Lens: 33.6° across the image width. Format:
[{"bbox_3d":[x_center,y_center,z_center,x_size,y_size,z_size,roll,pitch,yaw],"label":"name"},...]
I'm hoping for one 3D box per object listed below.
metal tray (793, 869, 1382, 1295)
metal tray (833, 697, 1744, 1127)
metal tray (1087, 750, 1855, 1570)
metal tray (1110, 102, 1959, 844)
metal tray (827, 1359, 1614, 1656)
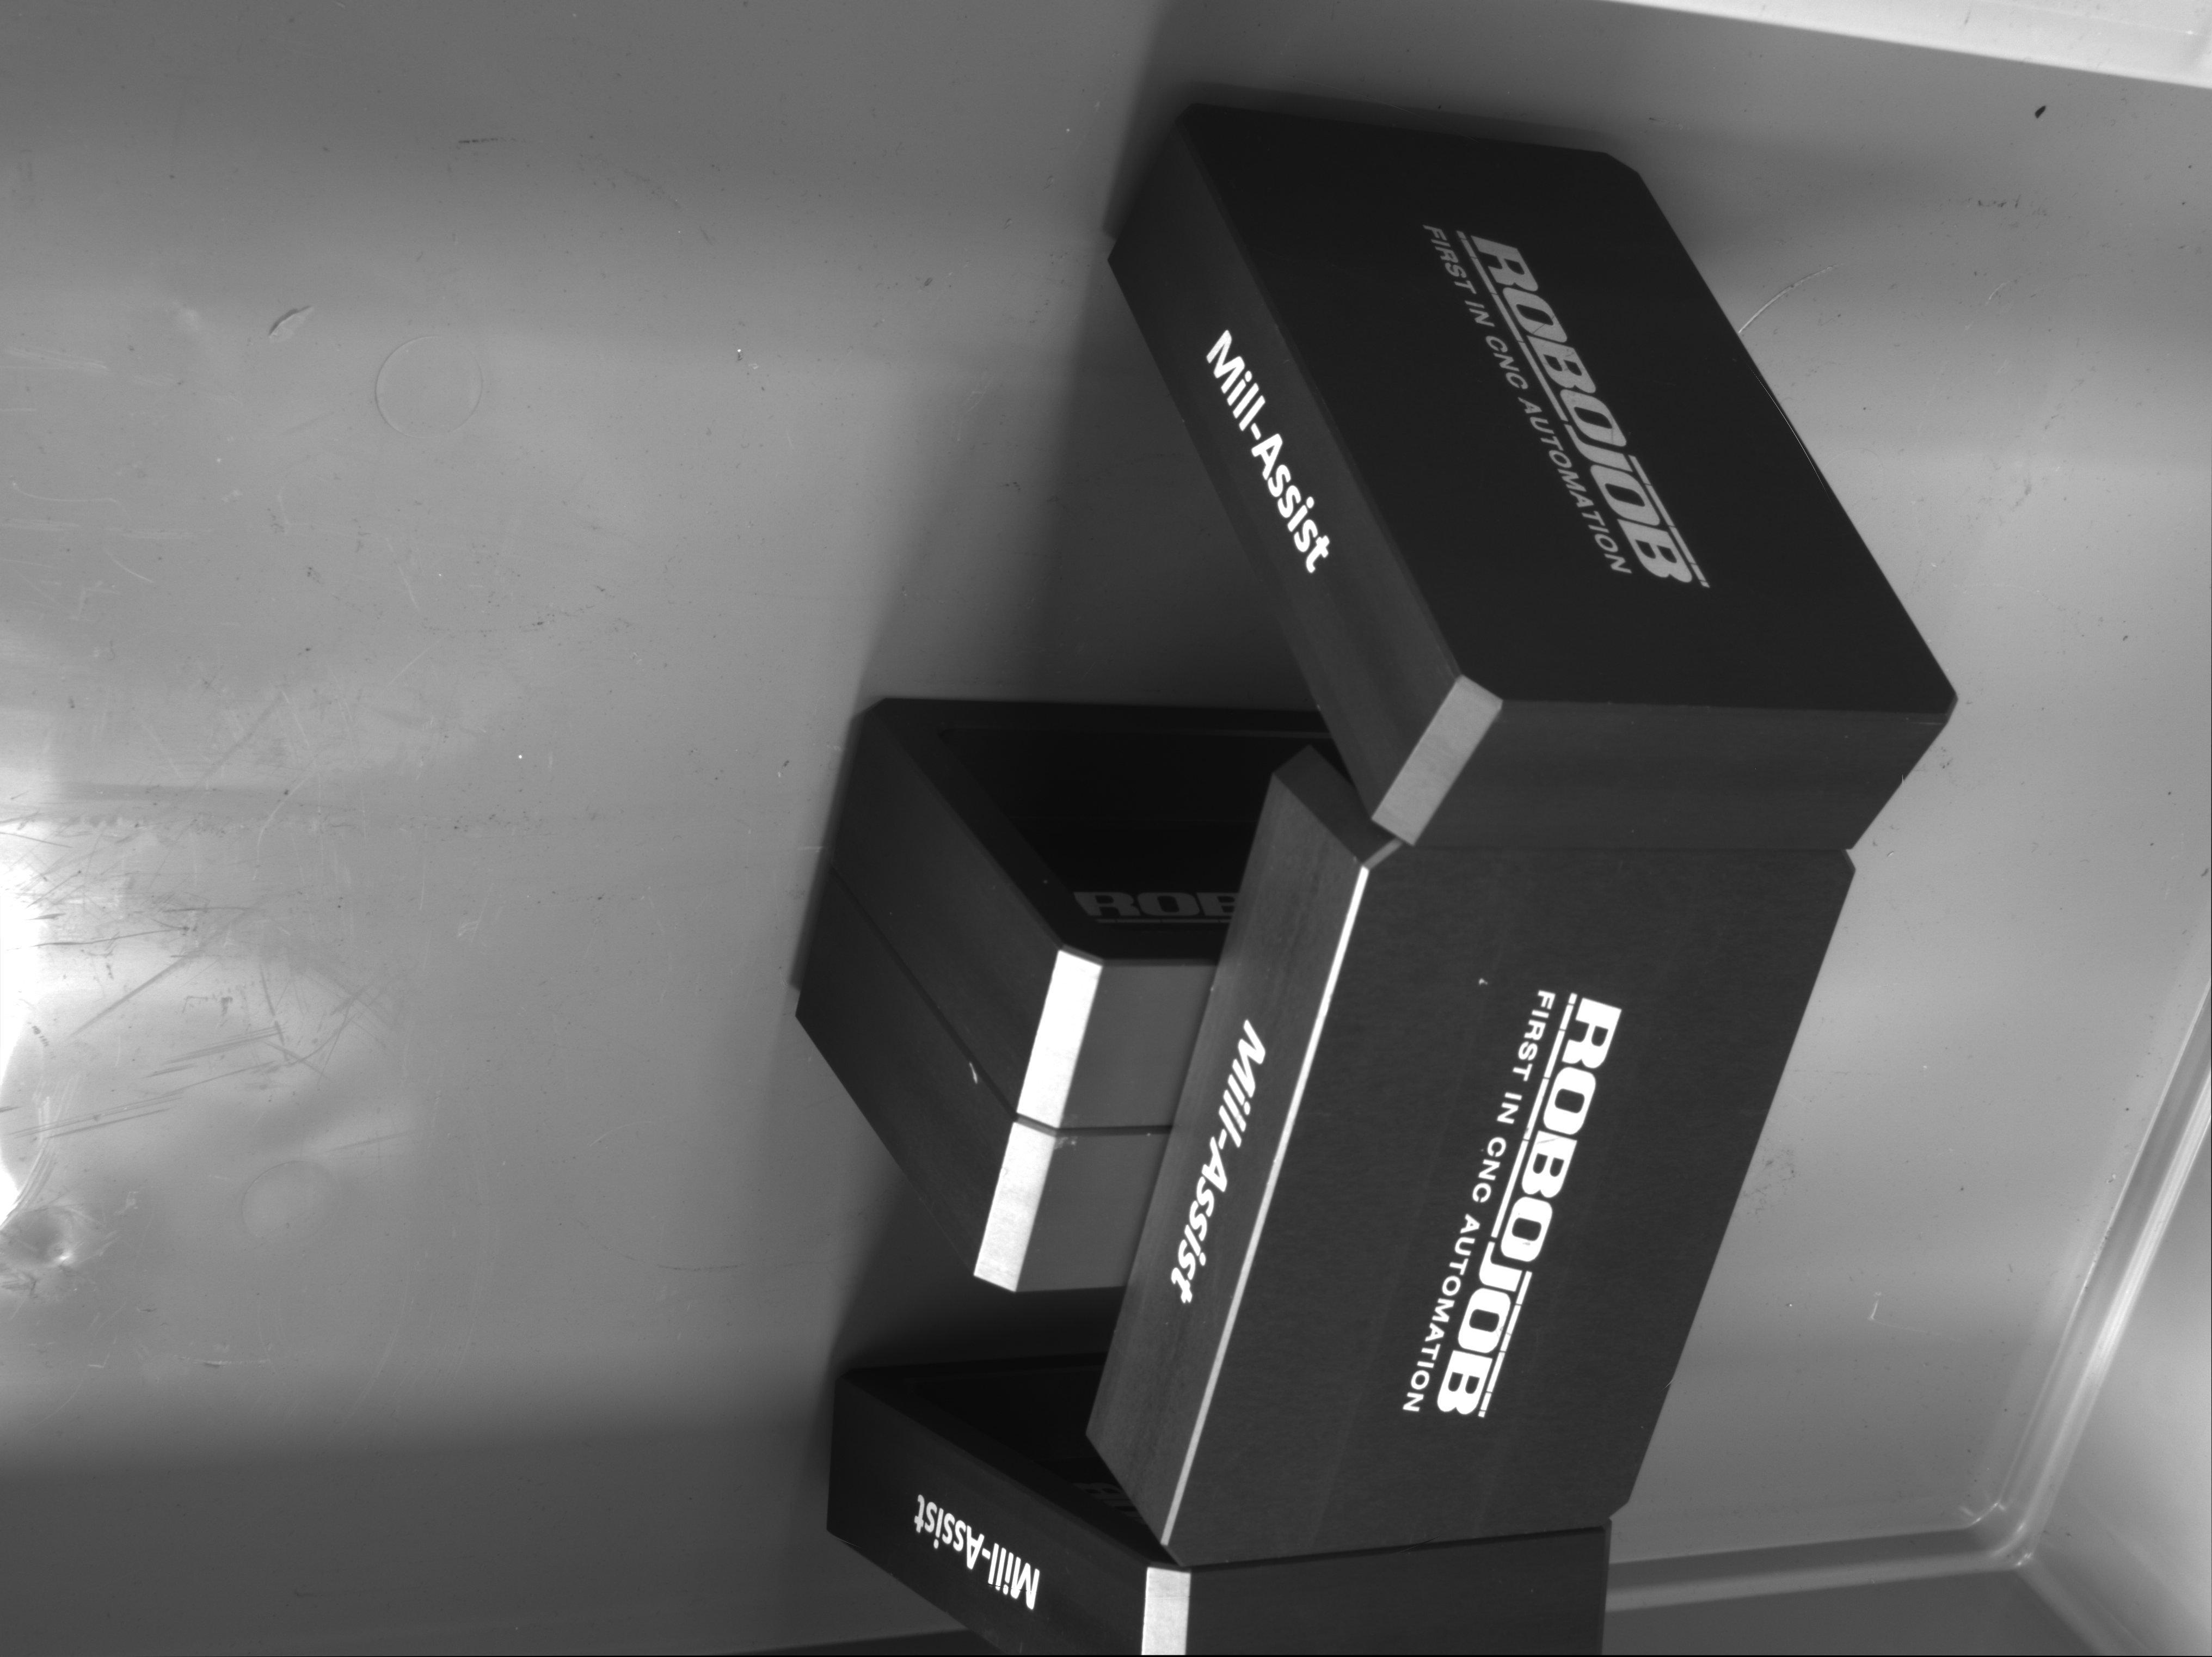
[{"bbox_3d":[0.023,0.040,0.631,0.130,0.090,0.030,1,118,-29],"label":"metal tray"},{"bbox_3d":[0.030,0.012,0.618,0.130,0.090,0.030,1,118,-29],"label":"metal tray"},{"bbox_3d":[0.056,0.053,0.579,0.090,0.030,0.130,0,118,-29],"label":"metal tray"},{"bbox_3d":[0.064,-0.056,0.568,0.090,0.130,0.030,1,138,-29],"label":"metal tray"},{"bbox_3d":[0.017,0.125,0.651,0.090,0.130,0.030,0,96,-29],"label":"metal tray"}]
